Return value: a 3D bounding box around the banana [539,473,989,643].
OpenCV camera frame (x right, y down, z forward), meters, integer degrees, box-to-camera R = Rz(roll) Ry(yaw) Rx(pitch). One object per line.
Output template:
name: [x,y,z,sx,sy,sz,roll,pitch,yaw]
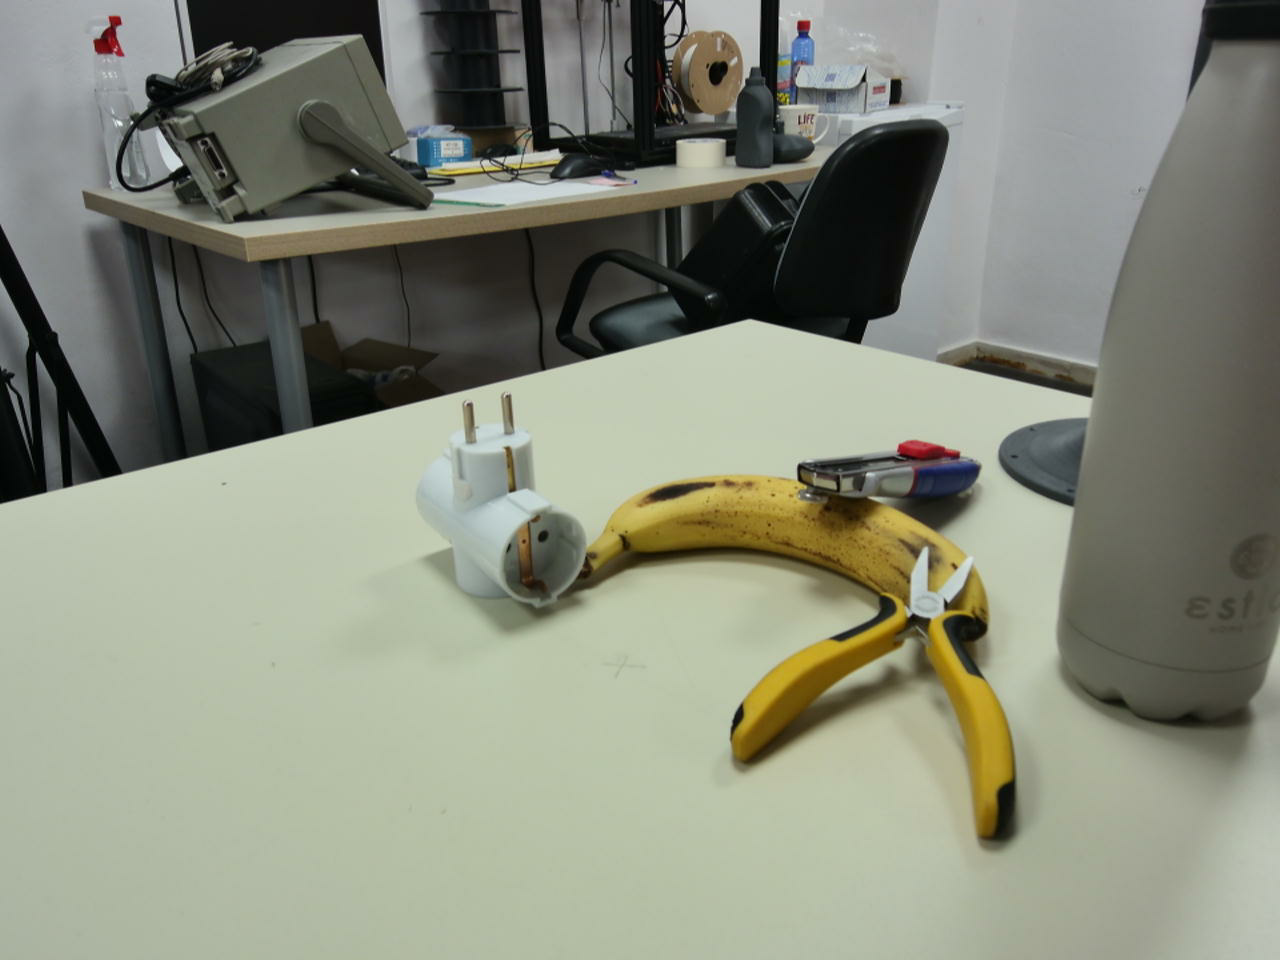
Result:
banana: [0.064,0.030,0.457,0.186,0.038,0.097,9,23,22]
